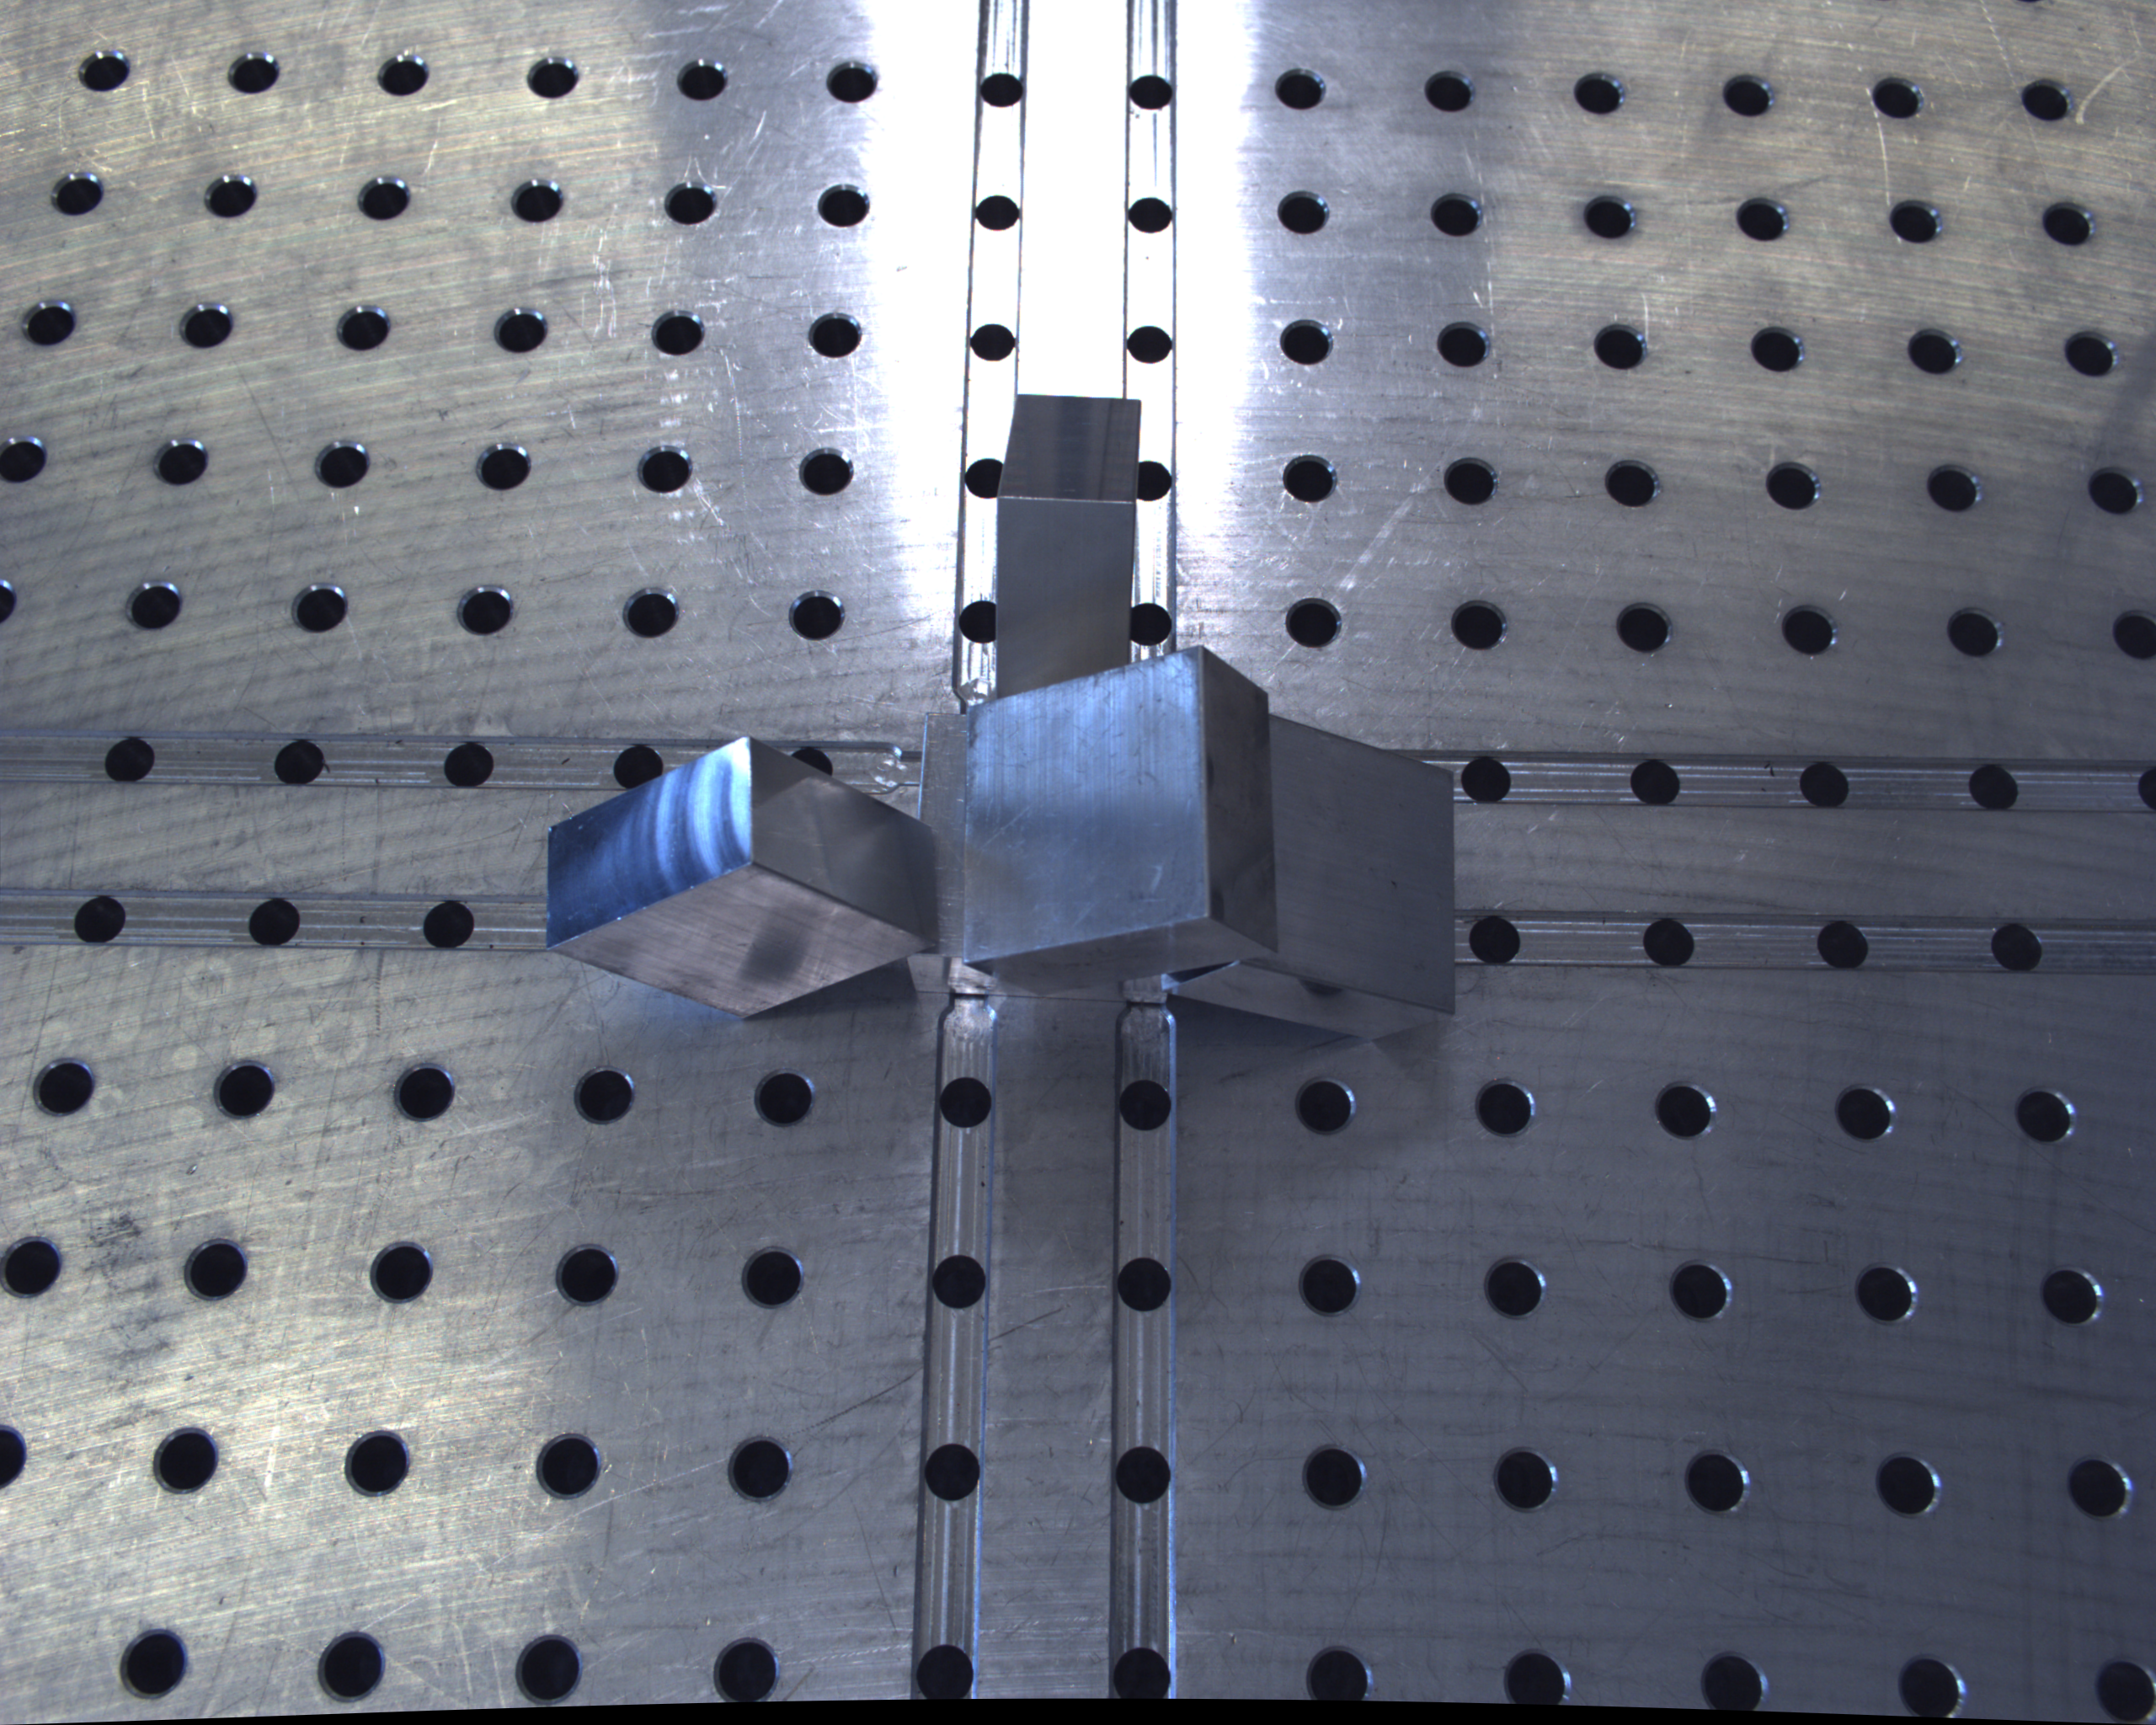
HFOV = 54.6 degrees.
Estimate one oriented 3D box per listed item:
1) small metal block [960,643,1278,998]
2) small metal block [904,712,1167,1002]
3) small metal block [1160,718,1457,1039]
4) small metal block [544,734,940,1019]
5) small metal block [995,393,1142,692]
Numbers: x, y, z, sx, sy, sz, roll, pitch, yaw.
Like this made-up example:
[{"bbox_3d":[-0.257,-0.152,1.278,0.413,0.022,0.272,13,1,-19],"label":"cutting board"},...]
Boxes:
[{"bbox_3d":[0.007,-0.006,0.375,0.050,0.025,0.050,-13,66,30],"label":"small metal block"},{"bbox_3d":[-0.006,-0.001,0.412,0.050,0.025,0.050,2,70,1],"label":"small metal block"},{"bbox_3d":[0.045,0.003,0.399,0.050,0.025,0.050,14,67,-28],"label":"small metal block"},{"bbox_3d":[-0.062,0.004,0.386,0.050,0.050,0.025,-21,61,29],"label":"small metal block"},{"bbox_3d":[-0.002,-0.058,0.409,0.025,0.050,0.050,3,34,2],"label":"small metal block"}]
